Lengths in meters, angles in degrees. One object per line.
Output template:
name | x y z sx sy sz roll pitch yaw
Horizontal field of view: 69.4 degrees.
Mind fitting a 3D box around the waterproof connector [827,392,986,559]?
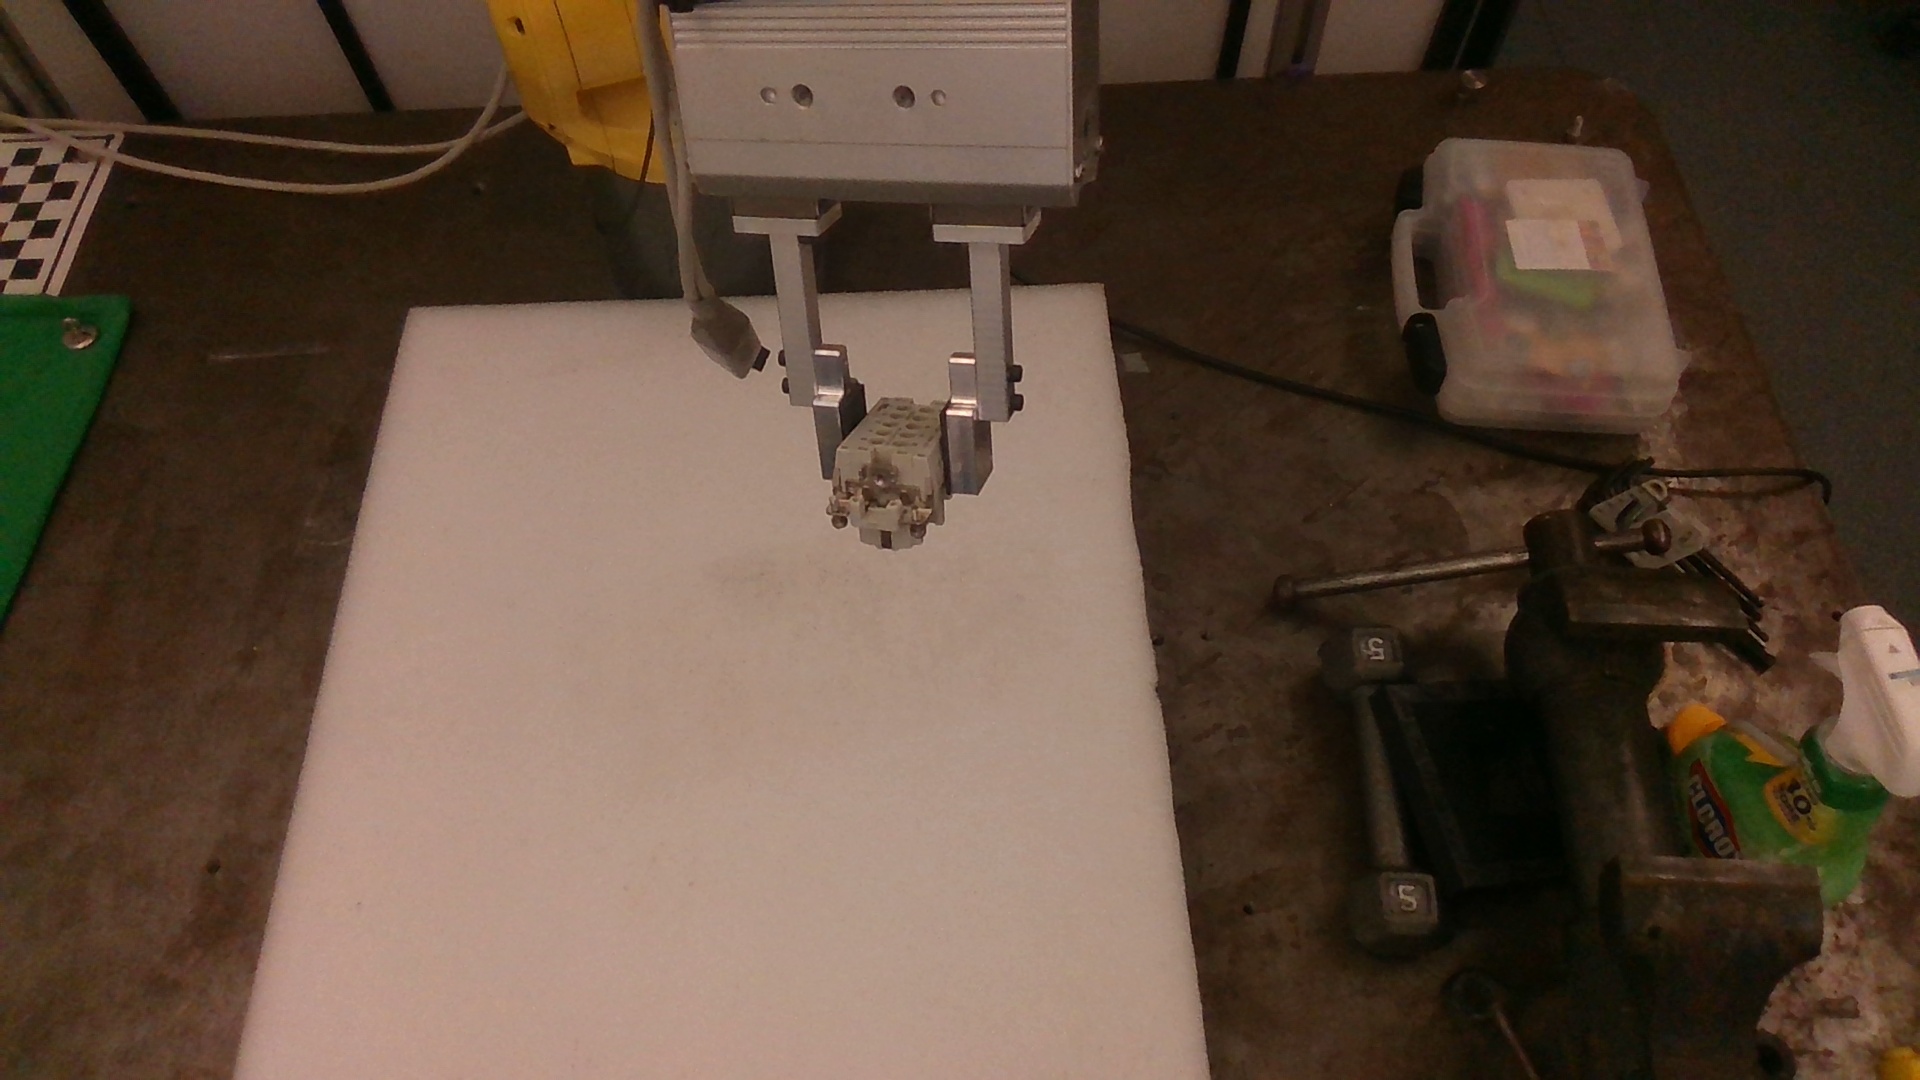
waterproof connector | -0.016 -0.021 0.453 0.037 0.038 0.069 8 28 12
